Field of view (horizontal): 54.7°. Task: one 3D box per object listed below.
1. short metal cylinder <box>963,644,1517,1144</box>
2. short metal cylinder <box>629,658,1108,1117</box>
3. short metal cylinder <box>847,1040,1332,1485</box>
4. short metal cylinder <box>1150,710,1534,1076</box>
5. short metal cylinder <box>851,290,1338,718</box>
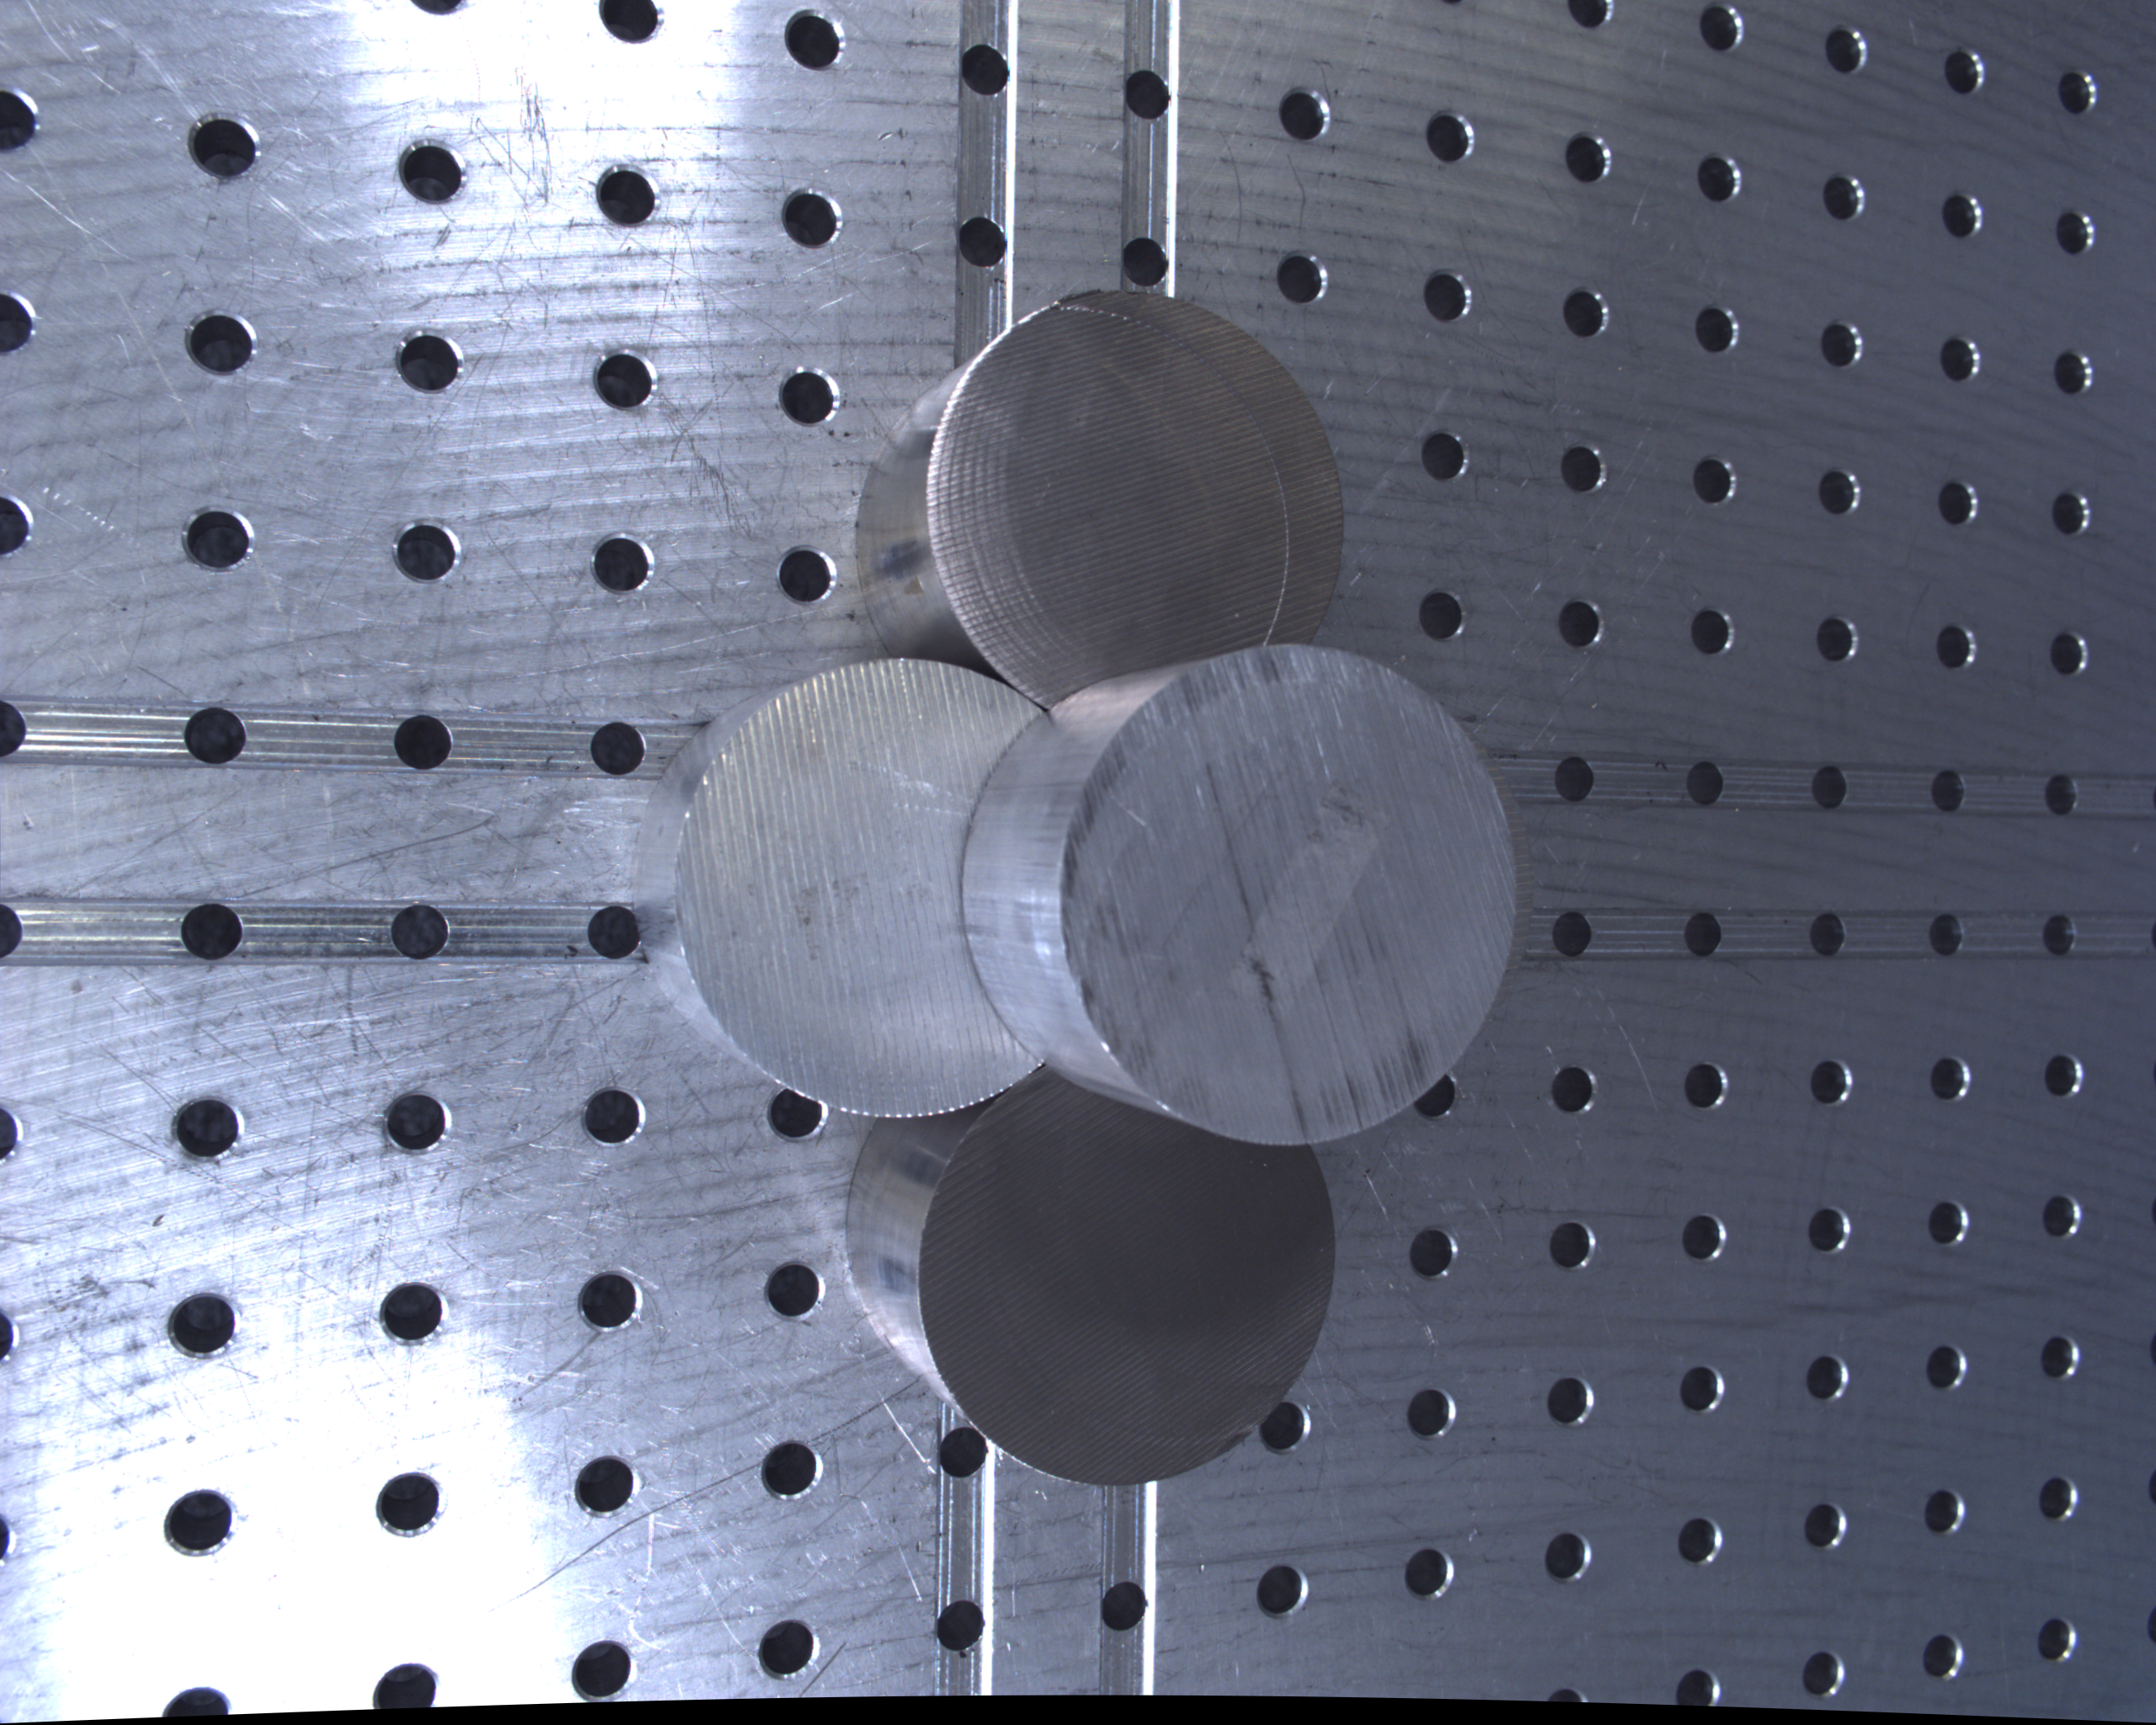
[{"bbox_3d":[0.026,0.005,0.355,0.081,0.050,0.079,0,90,-20],"label":"short metal cylinder"},{"bbox_3d":[-0.039,0.004,0.385,0.081,0.050,0.079,0,90,-20],"label":"short metal cylinder"},{"bbox_3d":[0.001,0.072,0.399,0.081,0.050,0.080,1,88,-20],"label":"short metal cylinder"},{"bbox_3d":[0.042,0.005,0.414,0.081,0.050,0.079,0,90,-20],"label":"short metal cylinder"},{"bbox_3d":[0.002,-0.064,0.400,0.081,0.050,0.079,0,90,-21],"label":"short metal cylinder"}]
